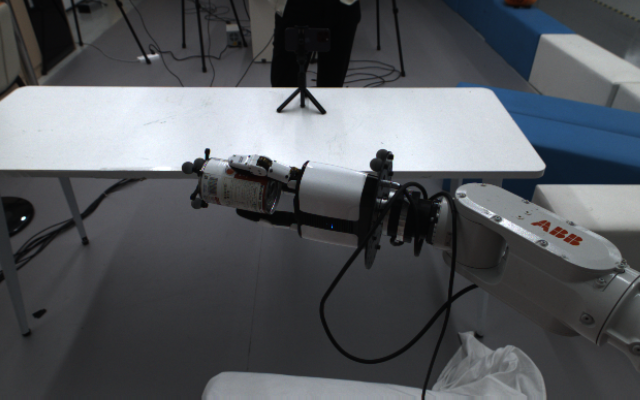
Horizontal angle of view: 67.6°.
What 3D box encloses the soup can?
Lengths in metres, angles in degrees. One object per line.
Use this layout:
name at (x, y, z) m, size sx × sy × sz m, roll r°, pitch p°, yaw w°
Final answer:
soup can at (-0.111, -0.021, 0.689) m, size 0.101 × 0.067 × 0.067 m, roll 10°, pitch 36°, yaw 10°
